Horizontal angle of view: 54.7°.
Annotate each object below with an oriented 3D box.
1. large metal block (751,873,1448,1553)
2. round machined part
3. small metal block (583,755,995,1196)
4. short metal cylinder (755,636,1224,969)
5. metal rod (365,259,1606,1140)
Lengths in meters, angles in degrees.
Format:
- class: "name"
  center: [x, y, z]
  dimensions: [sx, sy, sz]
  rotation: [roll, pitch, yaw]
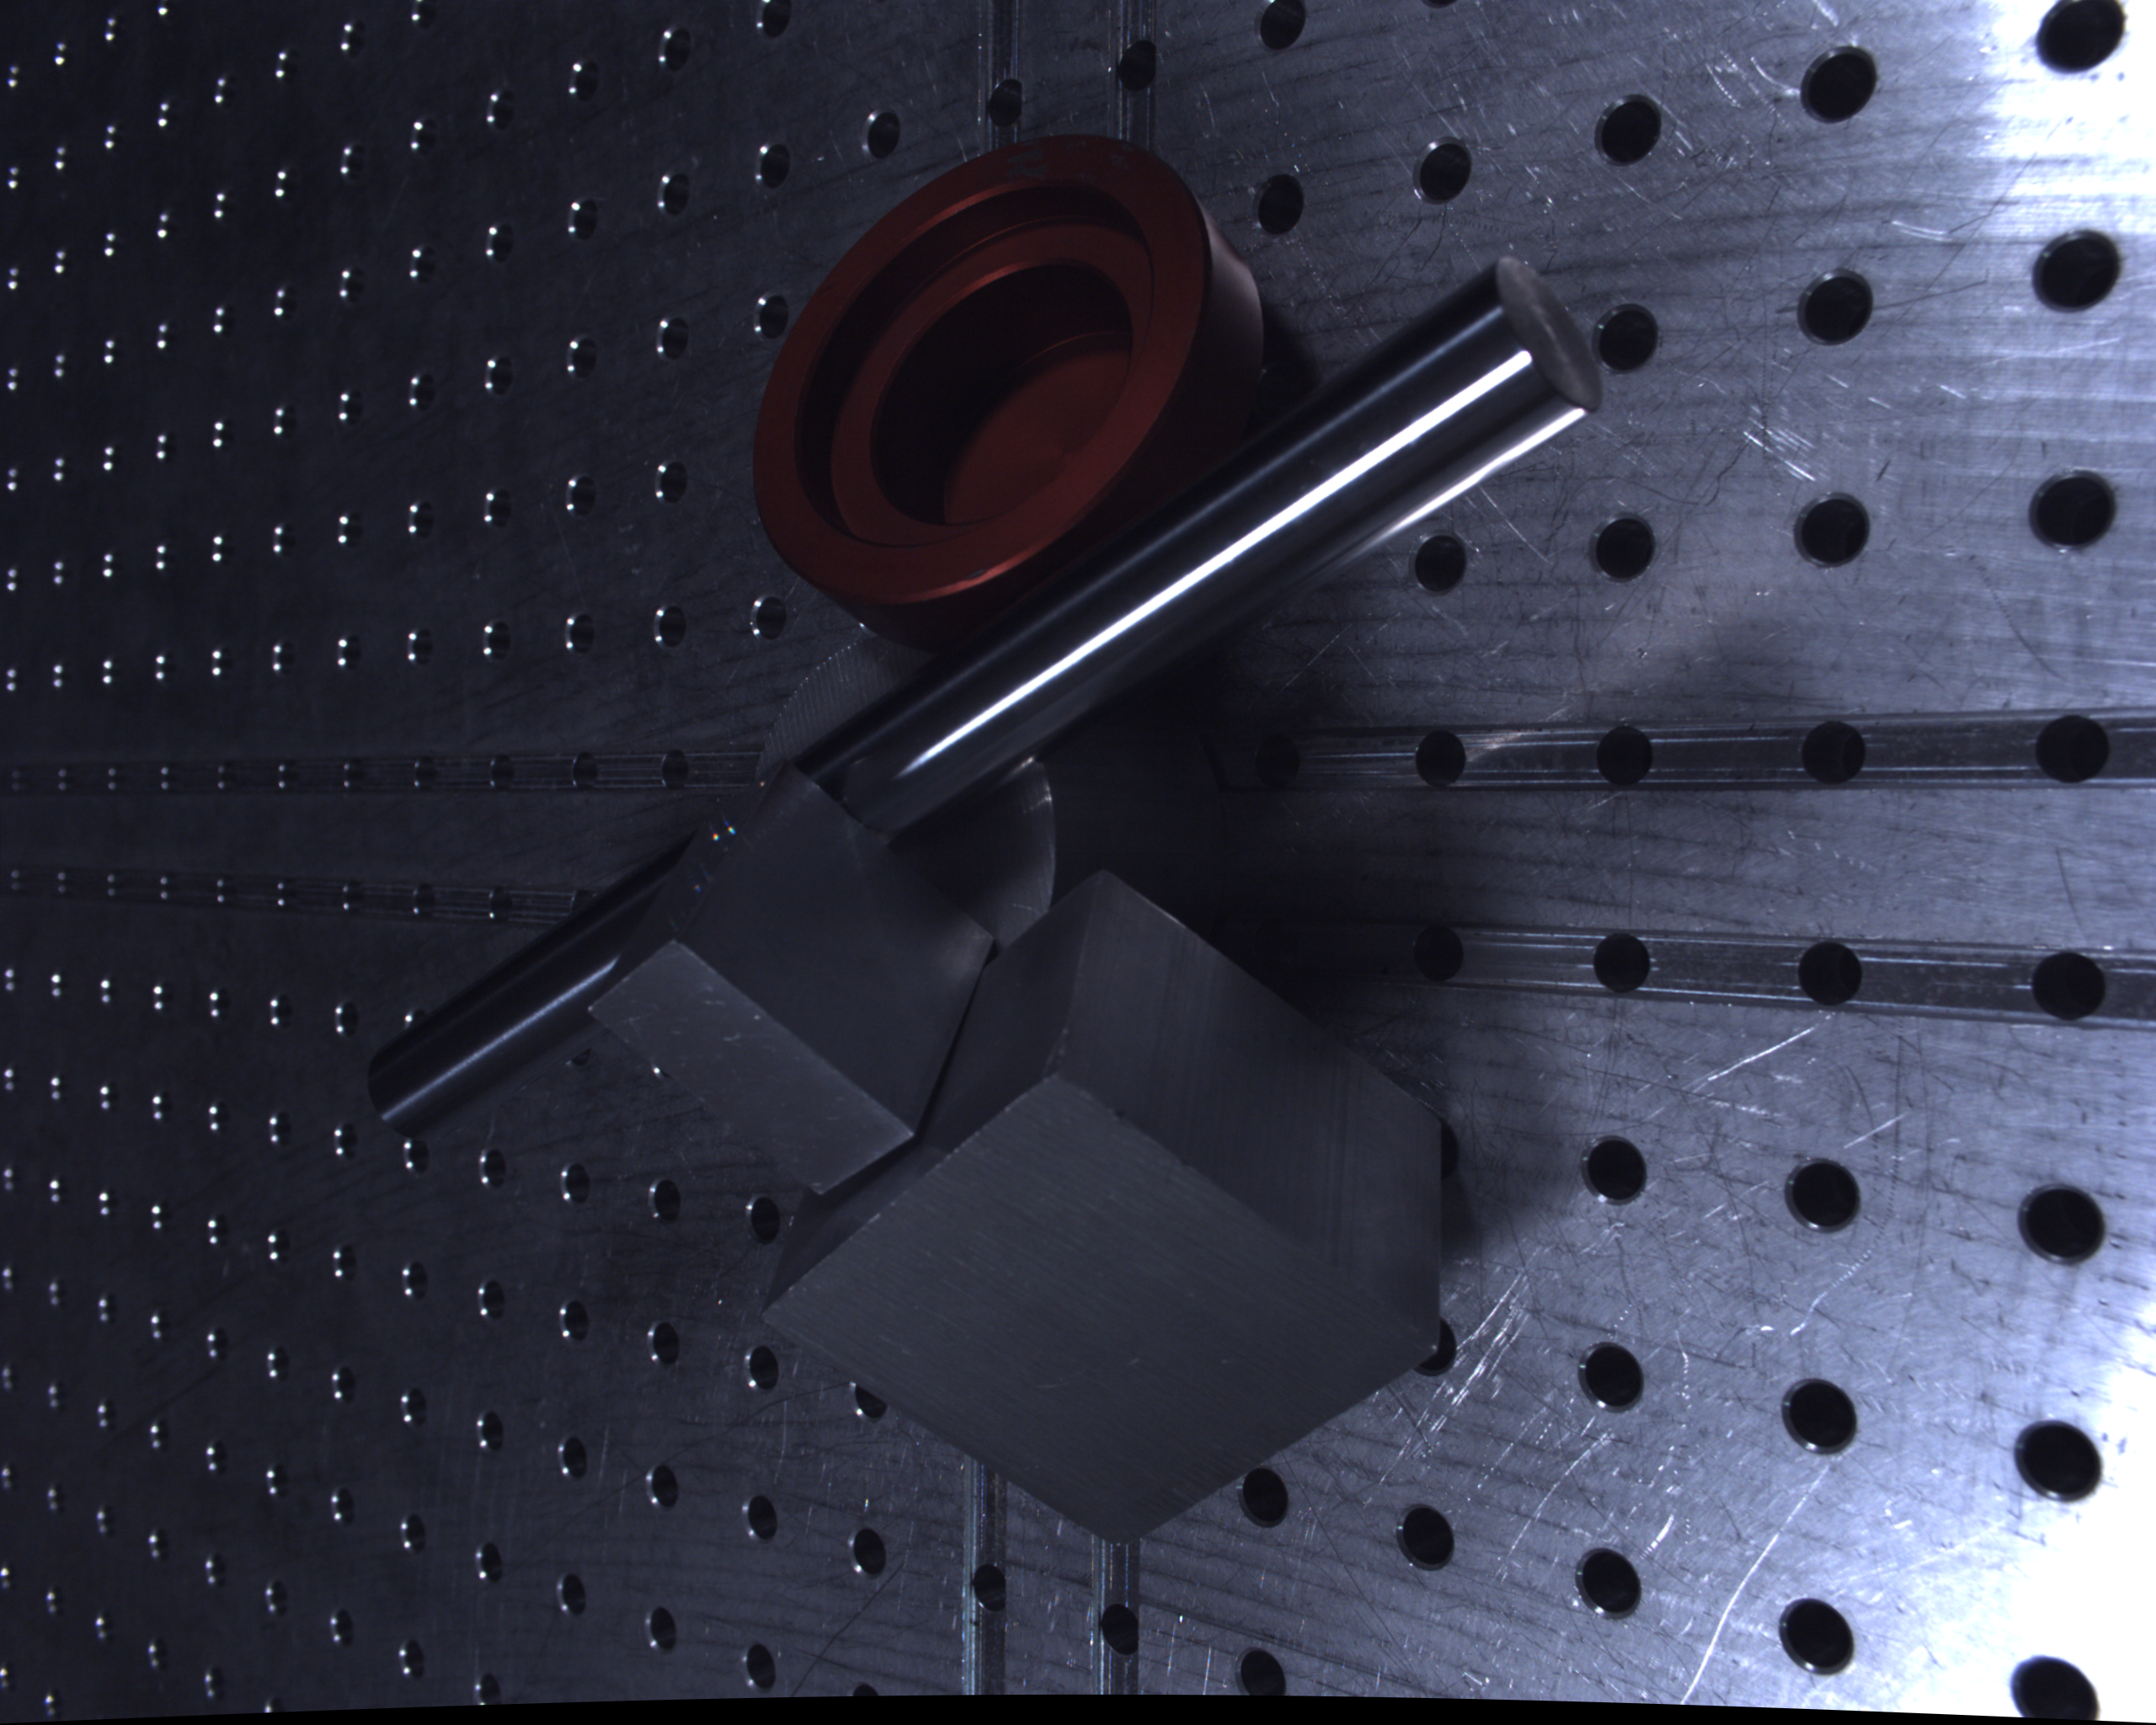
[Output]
- class: "large metal block"
  center: [0.005, 0.062, 0.357]
  dimensions: [0.080, 0.050, 0.080]
  rotation: [37, 123, -16]
- class: "round machined part"
  center: [-0.009, -0.082, 0.389]
  dimensions: [0.098, 0.042, 0.098]
  rotation: [-14, 60, 27]
- class: "small metal block"
  center: [-0.047, 0.018, 0.350]
  dimensions: [0.050, 0.050, 0.025]
  rotation: [42, 126, -17]
- class: "short metal cylinder"
  center: [-0.019, -0.003, 0.406]
  dimensions: [0.080, 0.050, 0.079]
  rotation: [0, 90, 39]
- class: "metal rod"
  center: [-0.040, -0.012, 0.375]
  dimensions: [0.299, 0.025, 0.025]
  rotation: [-30, 72, 35]
